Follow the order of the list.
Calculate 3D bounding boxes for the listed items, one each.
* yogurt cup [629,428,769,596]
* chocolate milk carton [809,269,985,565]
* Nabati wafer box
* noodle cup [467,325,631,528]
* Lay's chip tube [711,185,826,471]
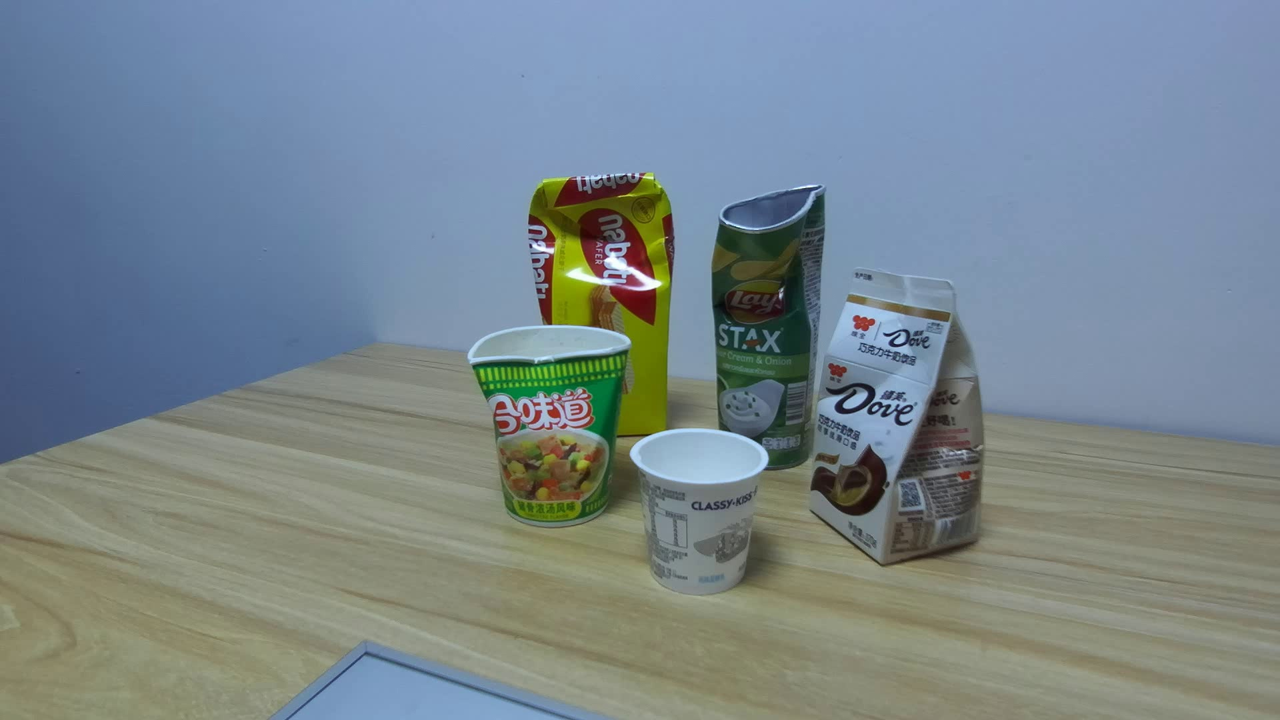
[{"bbox_3d":[0.032,0.081,0.378,0.072,0.068,0.072,0,17,0],"label":"yogurt cup"},{"bbox_3d":[0.153,0.028,0.408,0.073,0.155,0.084,-6,18,-20],"label":"chocolate milk carton"},{"bbox_3d":[-0.027,-0.040,0.560,0.113,0.205,0.042,-3,14,-4],"label":"Nabati wafer box"},{"bbox_3d":[-0.053,0.040,0.453,0.093,0.109,0.087,2,17,7],"label":"noodle cup"},{"bbox_3d":[0.091,-0.018,0.501,0.079,0.199,0.071,0,23,5],"label":"Lay's chip tube"}]
